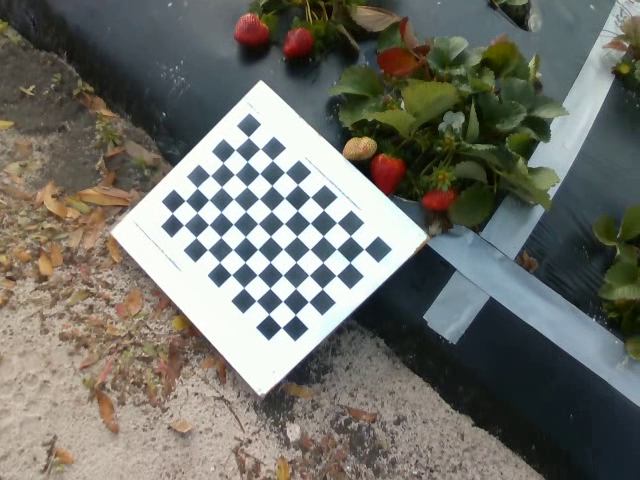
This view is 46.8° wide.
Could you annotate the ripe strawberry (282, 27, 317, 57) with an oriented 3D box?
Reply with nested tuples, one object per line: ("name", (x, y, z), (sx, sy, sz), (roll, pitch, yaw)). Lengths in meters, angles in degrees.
("ripe strawberry", (-0.039, -0.279, 0.993), (0.042, 0.034, 0.053), (26, 51, 20))

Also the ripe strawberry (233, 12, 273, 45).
("ripe strawberry", (-0.103, -0.293, 1.003), (0.050, 0.045, 0.061), (32, 50, 20))
